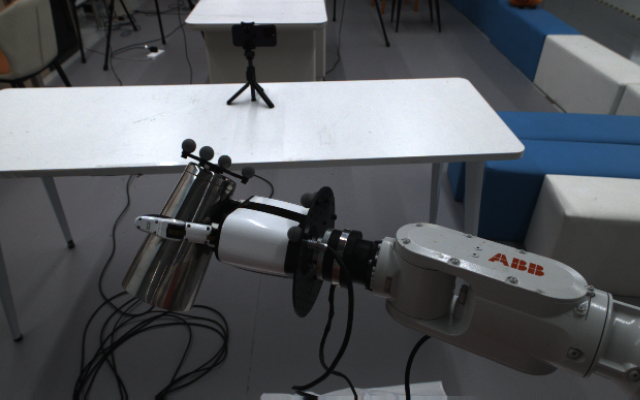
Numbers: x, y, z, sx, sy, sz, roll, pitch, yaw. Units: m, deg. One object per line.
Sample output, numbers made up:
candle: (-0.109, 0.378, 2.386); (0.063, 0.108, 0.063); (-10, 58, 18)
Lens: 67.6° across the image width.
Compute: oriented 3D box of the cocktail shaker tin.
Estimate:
cocktail shaker tin: (-0.169, 0.041, 0.611); (0.093, 0.170, 0.093); (23, 0, 0)
